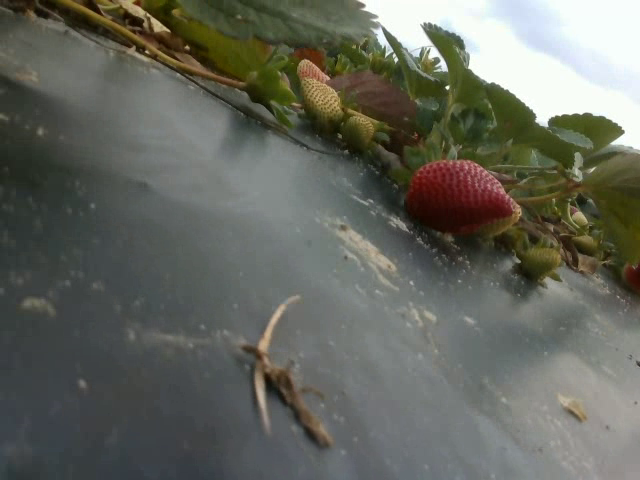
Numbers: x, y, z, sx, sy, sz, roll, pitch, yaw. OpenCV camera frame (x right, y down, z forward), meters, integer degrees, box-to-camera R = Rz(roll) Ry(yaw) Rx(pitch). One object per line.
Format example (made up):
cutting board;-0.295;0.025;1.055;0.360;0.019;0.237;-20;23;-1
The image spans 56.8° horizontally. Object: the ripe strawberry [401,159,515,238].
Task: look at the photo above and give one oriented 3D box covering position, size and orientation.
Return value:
ripe strawberry;0.067;-0.021;0.270;0.050;0.034;0.059;21;4;-36
